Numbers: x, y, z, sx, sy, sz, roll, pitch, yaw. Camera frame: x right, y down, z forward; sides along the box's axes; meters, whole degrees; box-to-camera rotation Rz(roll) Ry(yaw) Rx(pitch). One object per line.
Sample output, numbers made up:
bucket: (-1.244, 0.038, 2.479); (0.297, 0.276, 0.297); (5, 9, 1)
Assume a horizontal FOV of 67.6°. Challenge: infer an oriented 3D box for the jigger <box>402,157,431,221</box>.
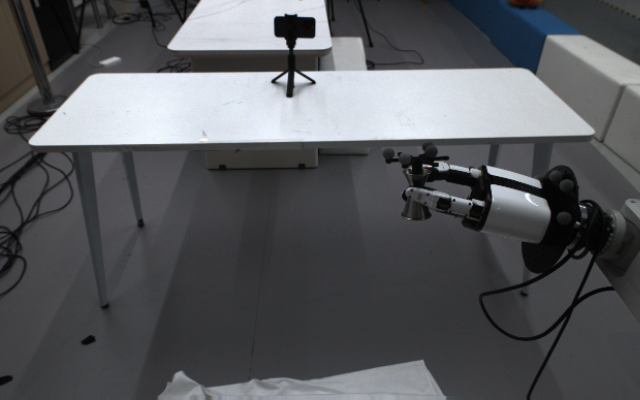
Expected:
jigger: (0.139, -0.010, 0.702); (0.043, 0.071, 0.043); (-2, 19, 1)
